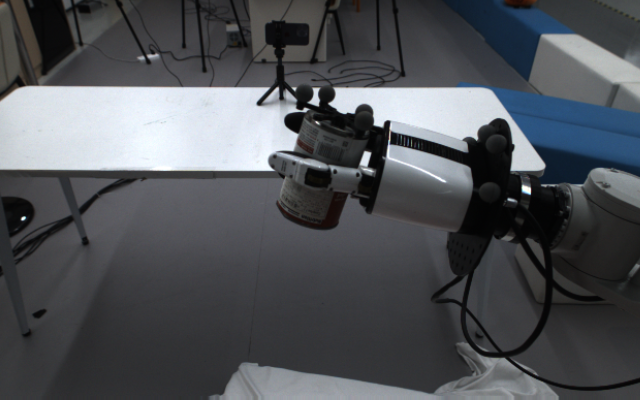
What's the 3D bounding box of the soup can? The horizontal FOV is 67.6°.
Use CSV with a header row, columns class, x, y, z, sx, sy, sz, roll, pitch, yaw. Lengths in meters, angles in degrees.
class,x,y,z,sx,sy,sz,roll,pitch,yaw
soup can,0.004,-0.031,0.484,0.067,0.101,0.067,16,21,-7
